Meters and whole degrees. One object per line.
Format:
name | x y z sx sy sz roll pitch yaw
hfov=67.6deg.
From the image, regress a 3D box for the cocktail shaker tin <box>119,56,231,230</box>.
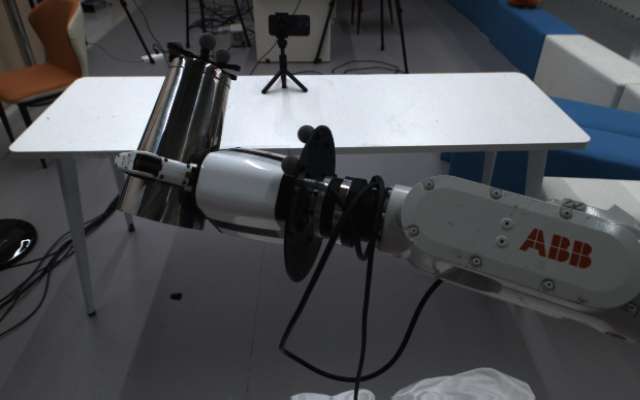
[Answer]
cocktail shaker tin | -0.150 -0.059 0.524 0.093 0.170 0.093 14 -4 1
